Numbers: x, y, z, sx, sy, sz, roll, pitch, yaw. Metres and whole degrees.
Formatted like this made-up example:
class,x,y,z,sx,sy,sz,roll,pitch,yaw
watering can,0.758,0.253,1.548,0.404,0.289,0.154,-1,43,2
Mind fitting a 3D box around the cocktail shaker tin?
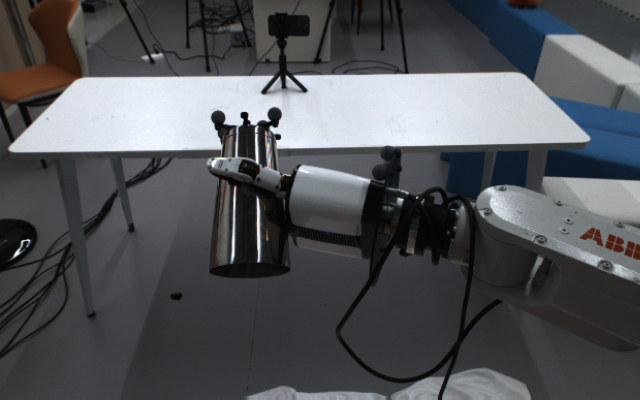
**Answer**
class,x,y,z,sx,sy,sz,roll,pitch,yaw
cocktail shaker tin,-0.083,0.002,0.577,0.093,0.093,0.170,-2,71,-6
